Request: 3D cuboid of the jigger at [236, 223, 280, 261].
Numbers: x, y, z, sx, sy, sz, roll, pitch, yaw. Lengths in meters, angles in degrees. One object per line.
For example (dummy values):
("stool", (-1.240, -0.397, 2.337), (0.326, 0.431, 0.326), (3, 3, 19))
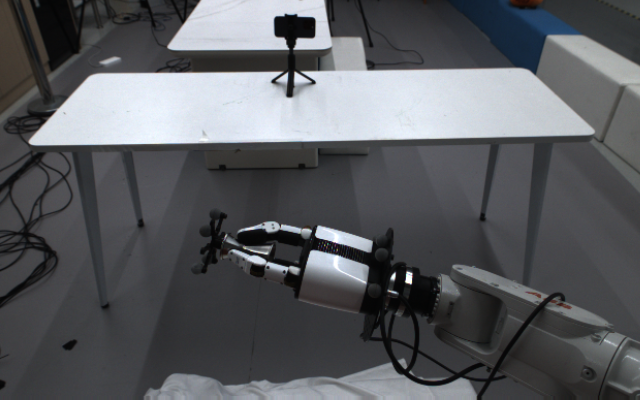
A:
("jigger", (-0.094, 0.070, 0.675), (0.071, 0.043, 0.043), (14, 36, 5))
